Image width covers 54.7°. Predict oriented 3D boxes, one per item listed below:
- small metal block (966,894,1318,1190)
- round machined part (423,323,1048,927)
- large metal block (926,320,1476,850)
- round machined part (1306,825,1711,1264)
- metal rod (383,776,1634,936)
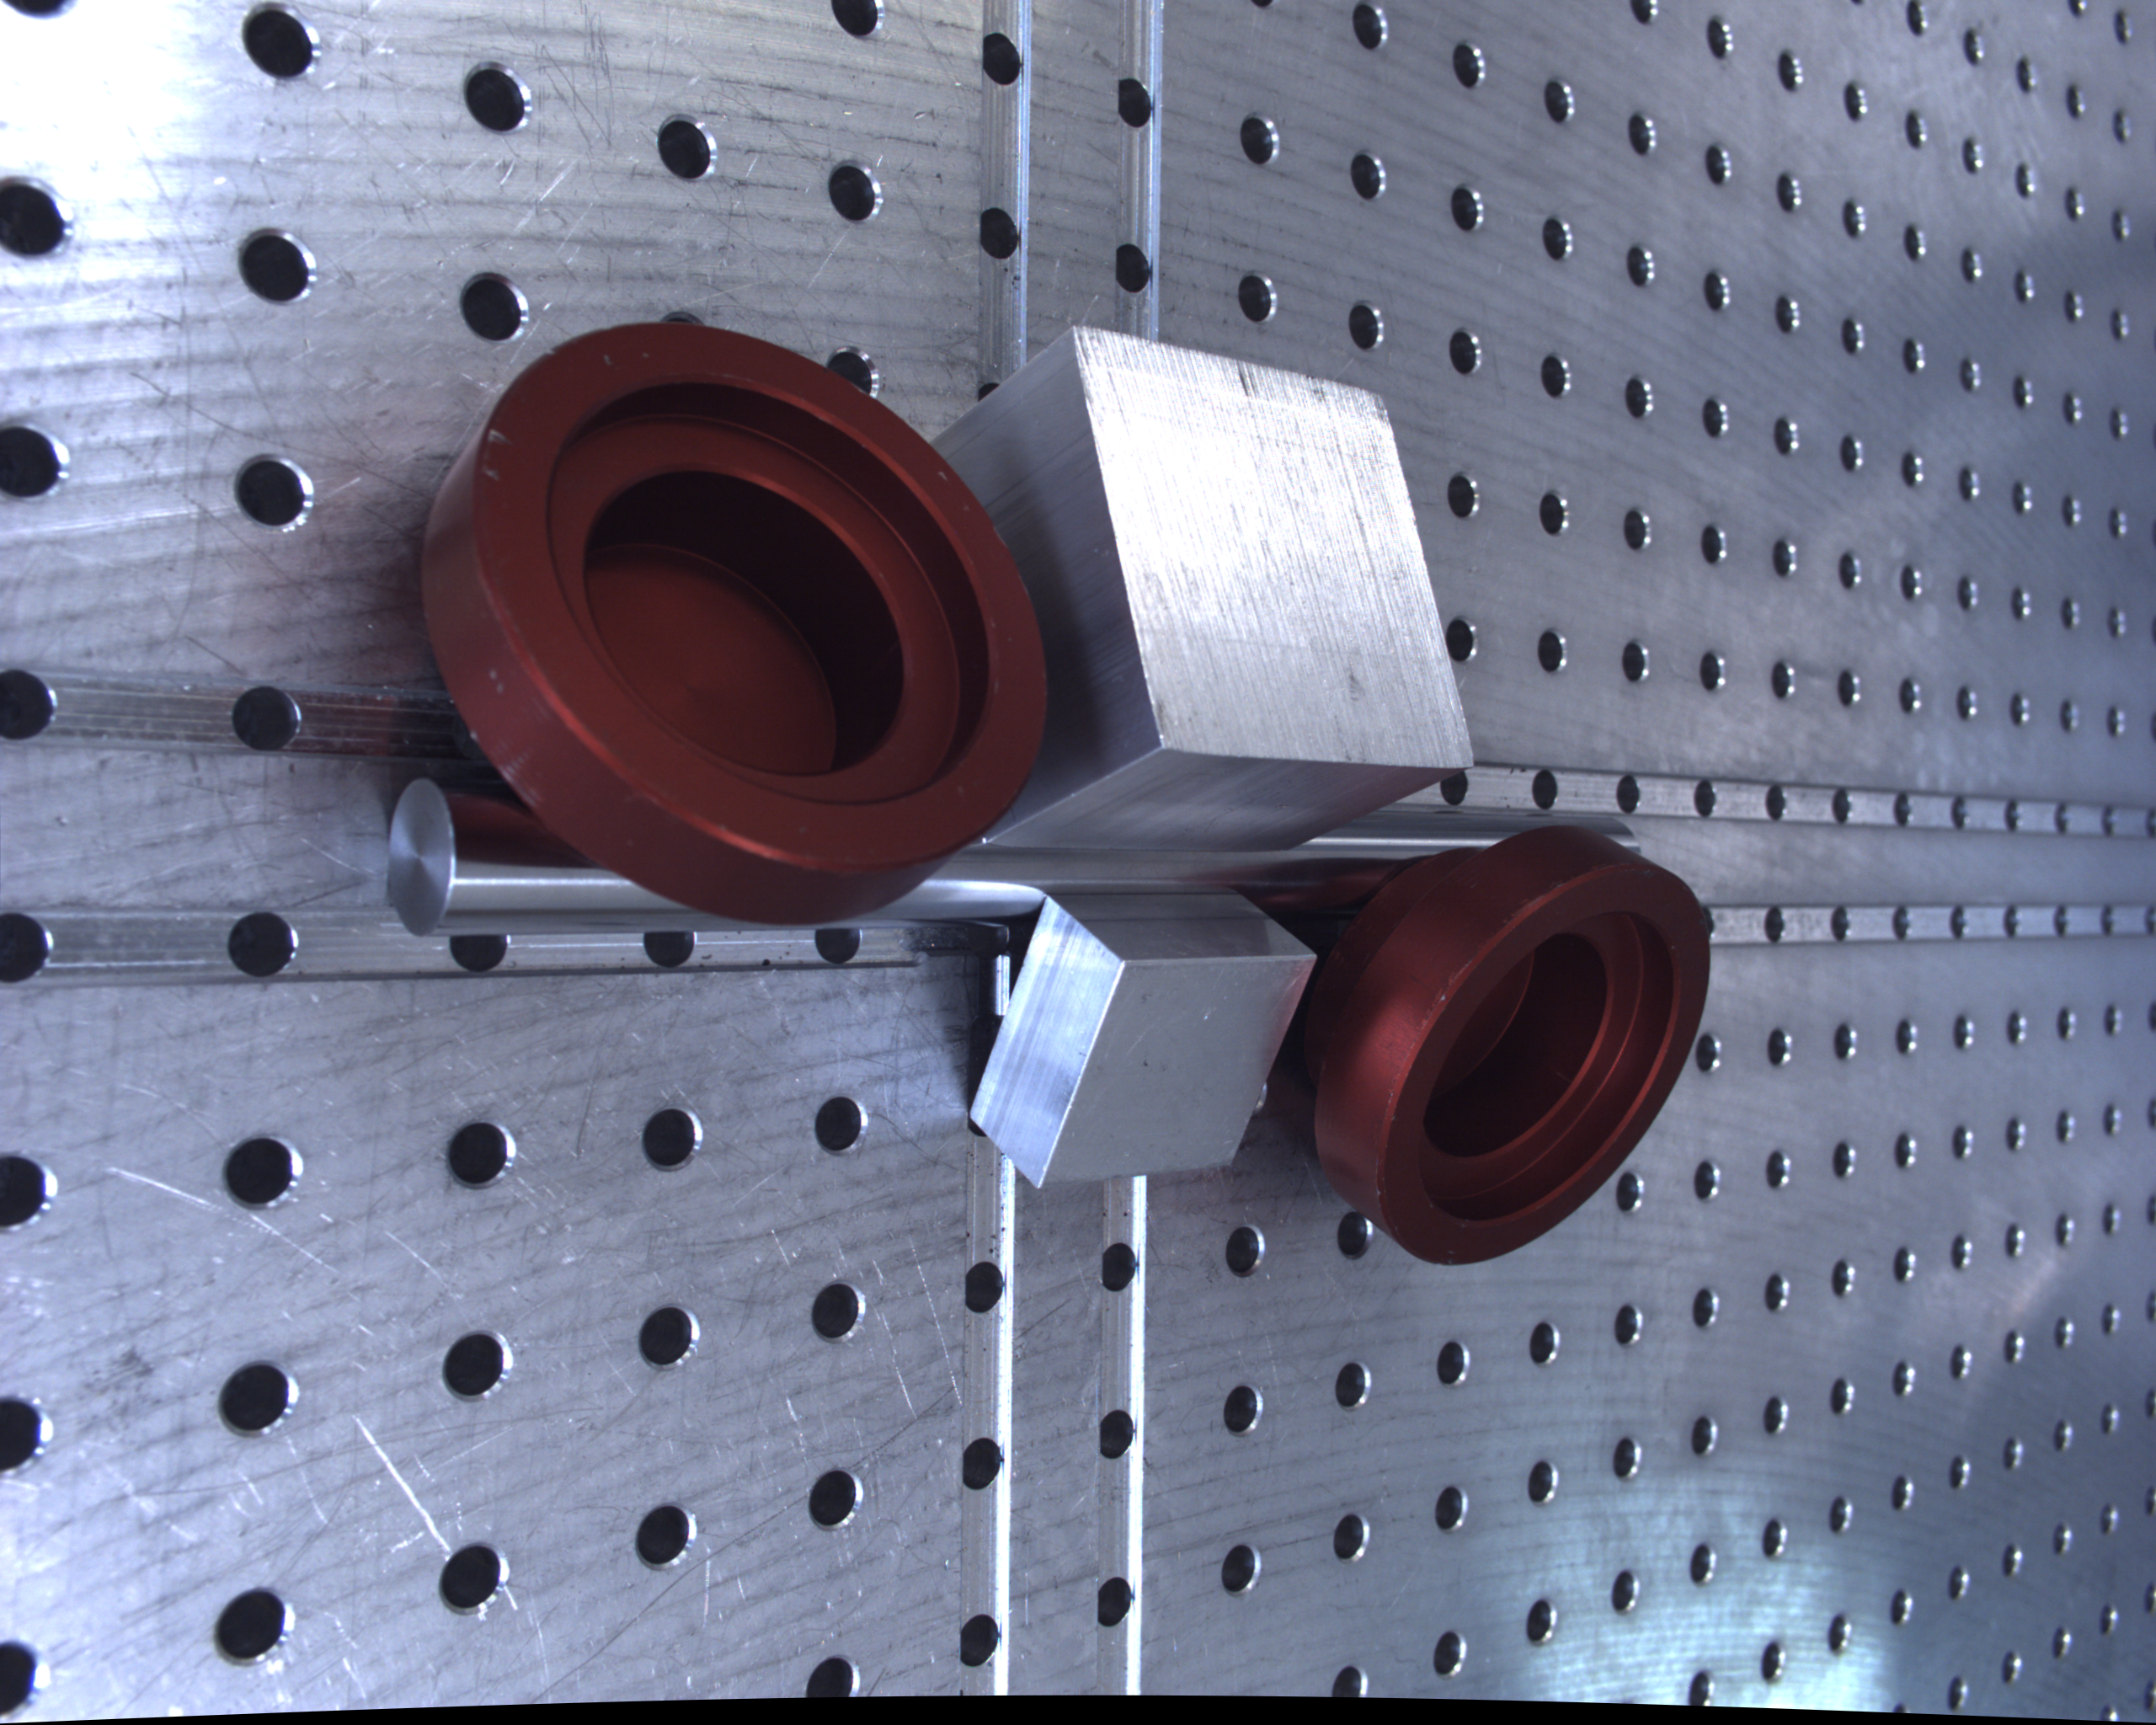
[{"bbox_3d":[0.012,0.034,0.407,0.050,0.025,0.050,1,118,-40],"label":"small metal block"},{"bbox_3d":[-0.057,-0.034,0.334,0.099,0.042,0.098,21,52,-29],"label":"round machined part"},{"bbox_3d":[0.021,-0.048,0.396,0.081,0.050,0.080,1,71,-40],"label":"large metal block"},{"bbox_3d":[0.089,0.036,0.457,0.099,0.042,0.097,-21,127,-29],"label":"round machined part"},{"bbox_3d":[0.013,0.000,0.421,0.302,0.025,0.025,0,90,-40],"label":"metal rod"}]
